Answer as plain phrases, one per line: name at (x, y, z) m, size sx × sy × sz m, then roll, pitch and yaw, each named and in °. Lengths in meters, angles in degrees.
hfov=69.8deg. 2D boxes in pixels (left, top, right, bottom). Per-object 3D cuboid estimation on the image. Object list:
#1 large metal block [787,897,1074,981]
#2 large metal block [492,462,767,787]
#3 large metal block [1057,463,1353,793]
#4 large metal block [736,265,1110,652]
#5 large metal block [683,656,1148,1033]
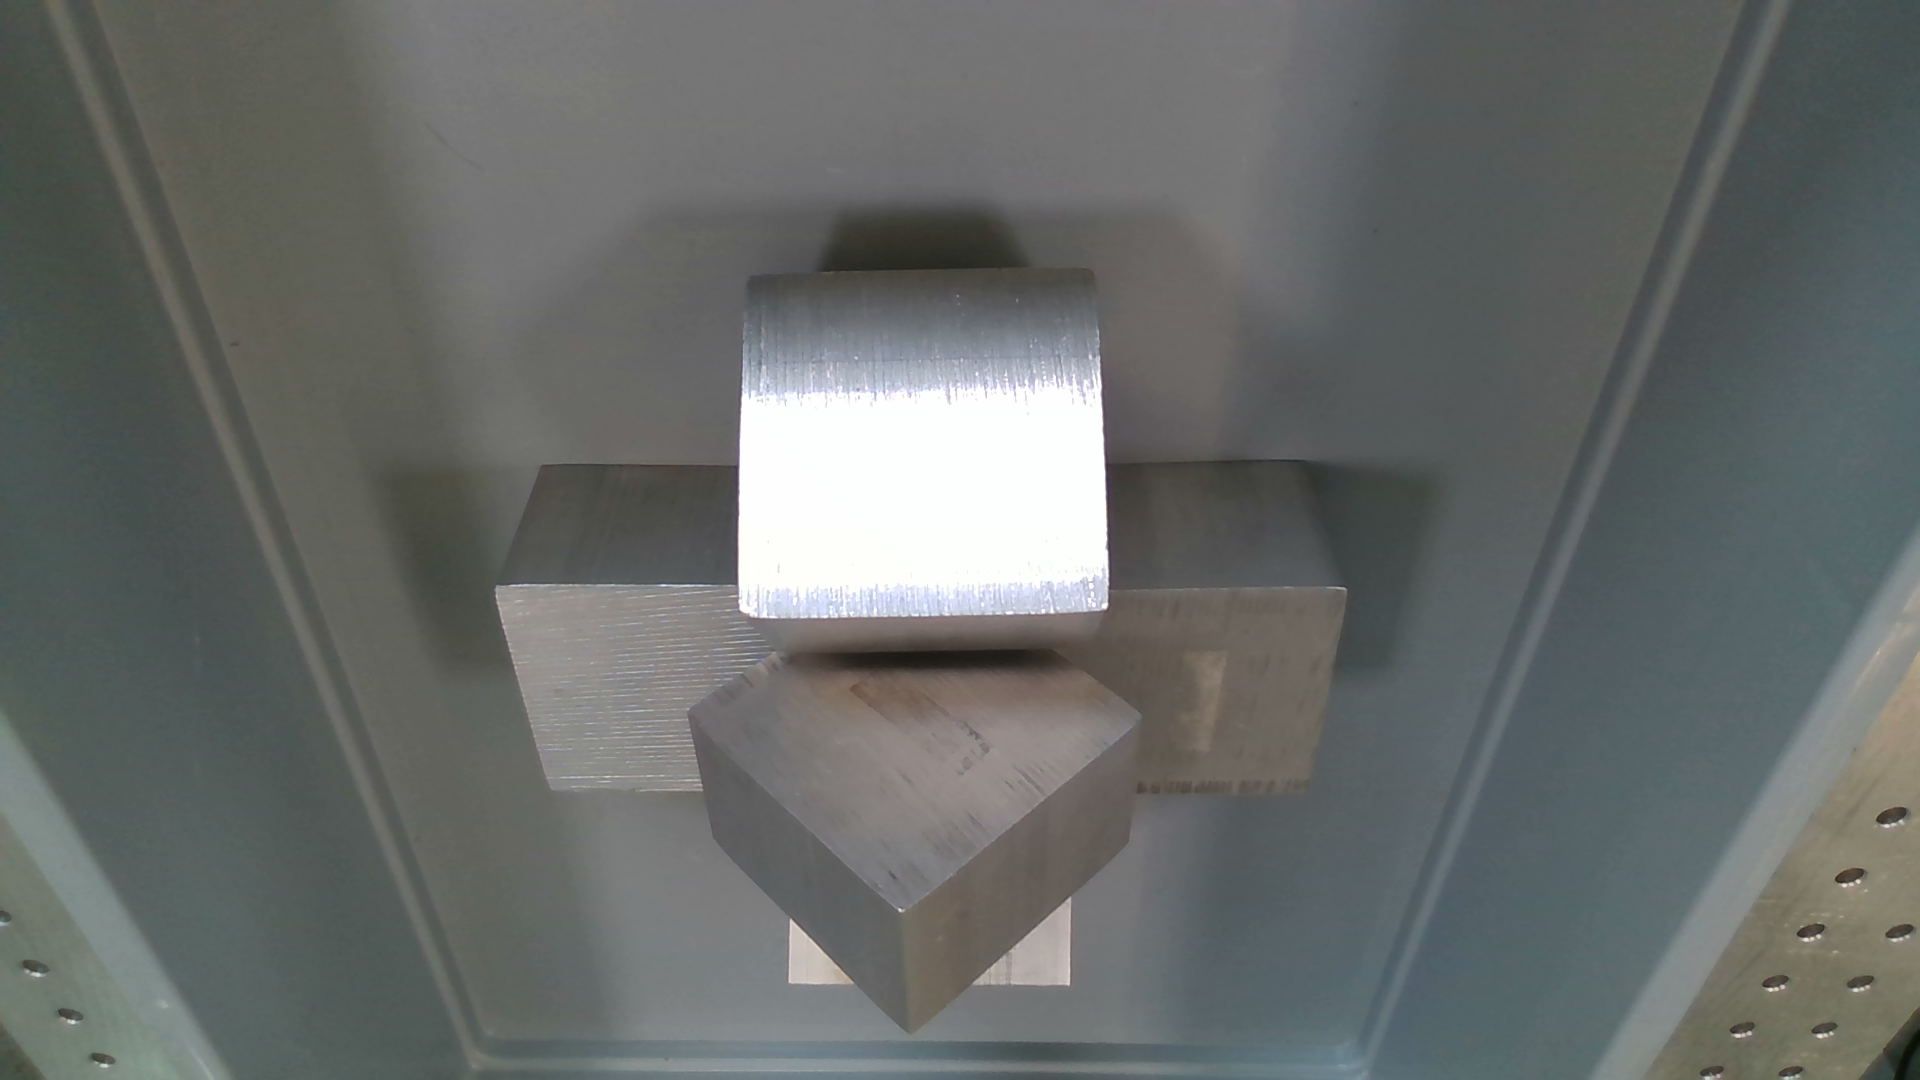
large metal block at (-0.008, 0.097, 0.425) m, size 0.080 × 0.080 × 0.050 m, roll 1°, pitch 91°, yaw 0°
large metal block at (-0.079, 0.025, 0.393) m, size 0.080 × 0.050 × 0.080 m, roll 1°, pitch 130°, yaw 0°
large metal block at (0.060, 0.026, 0.390) m, size 0.080 × 0.050 × 0.080 m, roll -1°, pitch 130°, yaw 1°
large metal block at (-0.008, -0.017, 0.328) m, size 0.080 × 0.080 × 0.050 m, roll -1°, pitch 167°, yaw 1°
large metal block at (-0.011, 0.060, 0.351) m, size 0.080 × 0.080 × 0.050 m, roll -33°, pitch 140°, yaw -31°
